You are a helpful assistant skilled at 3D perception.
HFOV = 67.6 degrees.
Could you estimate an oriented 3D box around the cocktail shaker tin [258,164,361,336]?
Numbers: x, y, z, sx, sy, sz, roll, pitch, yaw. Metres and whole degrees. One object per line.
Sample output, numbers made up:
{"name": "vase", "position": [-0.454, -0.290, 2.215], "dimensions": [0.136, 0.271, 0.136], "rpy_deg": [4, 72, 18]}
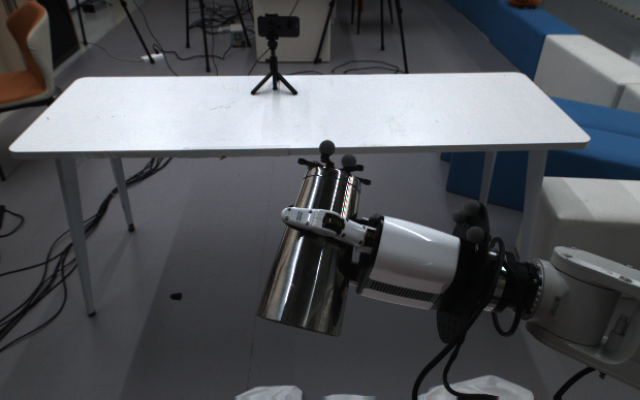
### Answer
{"name": "cocktail shaker tin", "position": [-0.004, 0.055, 0.532], "dimensions": [0.093, 0.093, 0.170], "rpy_deg": [11, 74, 13]}
